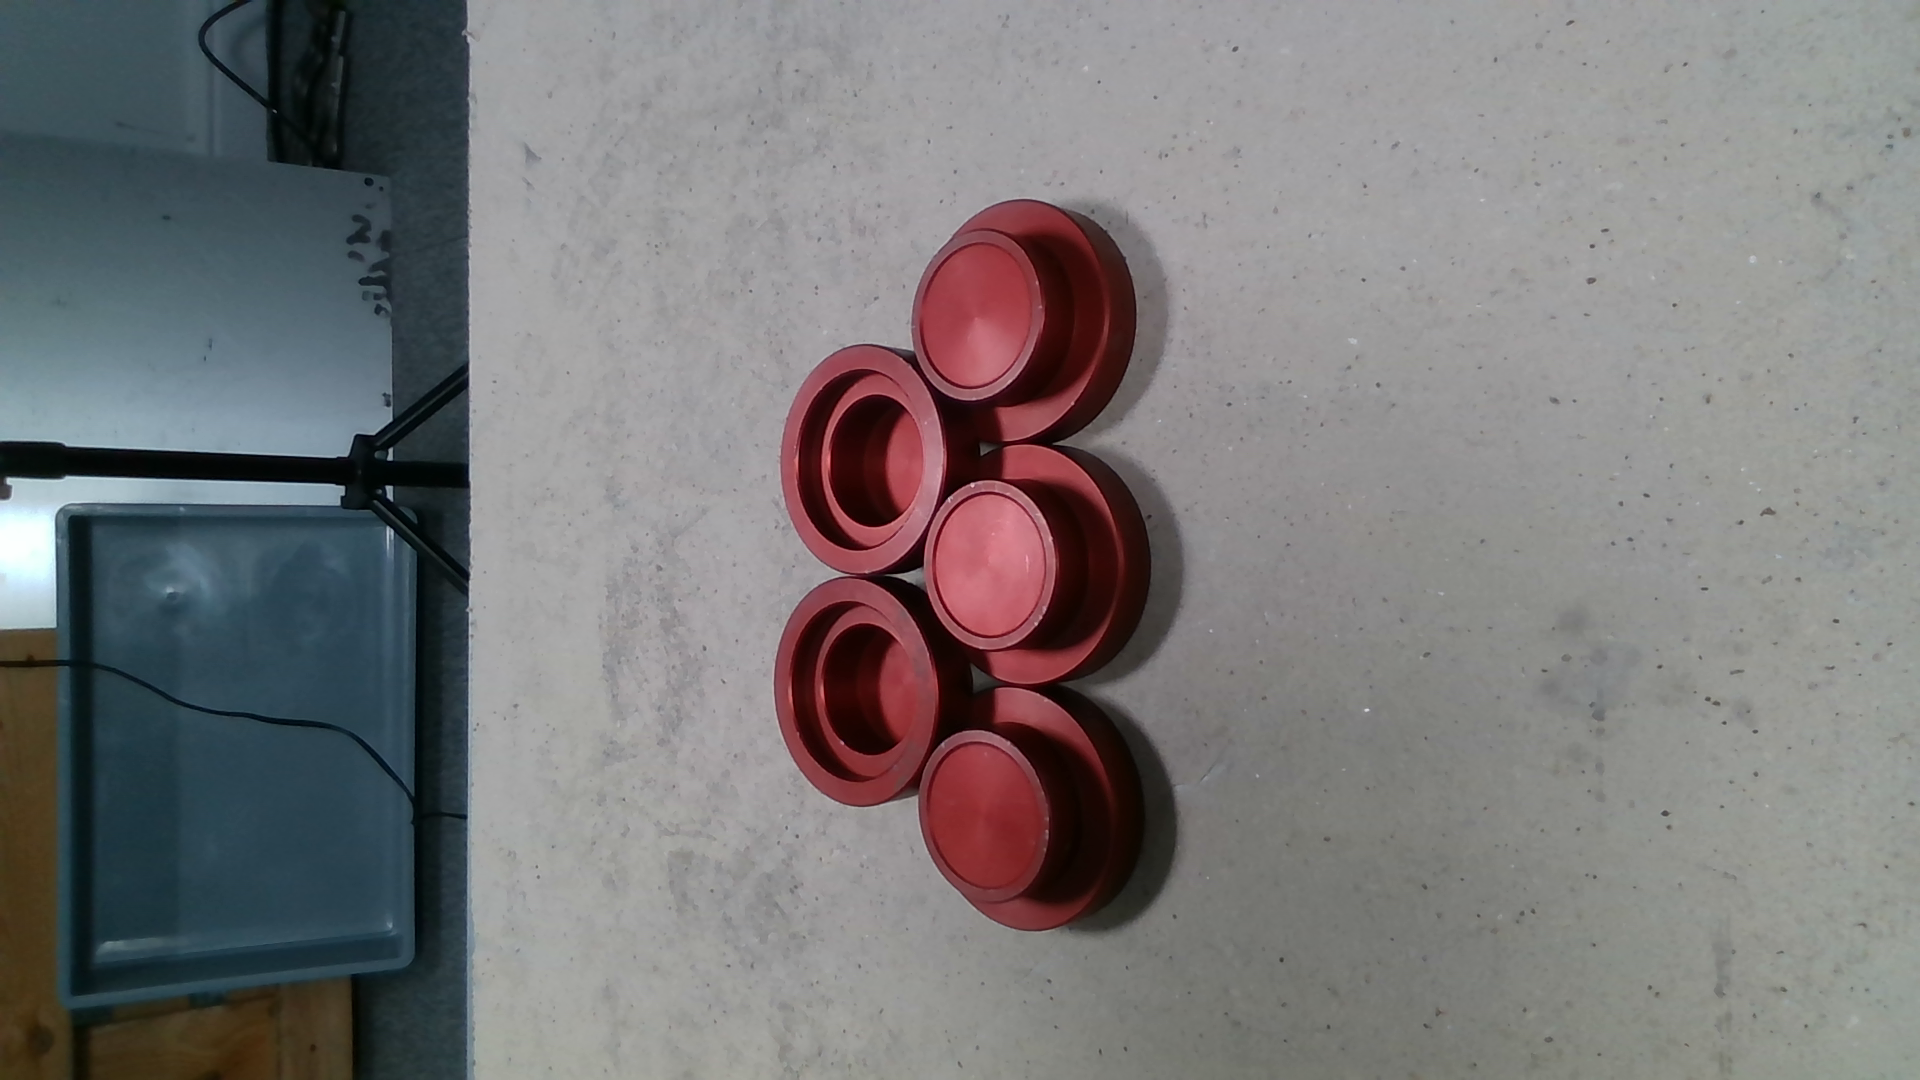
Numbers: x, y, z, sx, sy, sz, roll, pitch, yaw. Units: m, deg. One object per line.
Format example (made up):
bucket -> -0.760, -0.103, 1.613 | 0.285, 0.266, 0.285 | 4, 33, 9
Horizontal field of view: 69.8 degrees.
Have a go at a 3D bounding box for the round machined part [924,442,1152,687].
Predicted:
round machined part -> 0.024, 0.010, 0.551 | 0.098, 0.042, 0.098 | 0, 91, 40

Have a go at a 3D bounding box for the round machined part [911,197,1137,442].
round machined part -> 0.019, -0.089, 0.554 | 0.098, 0.042, 0.098 | 0, 91, 40

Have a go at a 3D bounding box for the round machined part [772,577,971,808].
round machined part -> -0.034, 0.065, 0.600 | 0.098, 0.042, 0.098 | 0, 91, 40

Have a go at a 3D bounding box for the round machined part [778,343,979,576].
round machined part -> -0.030, -0.034, 0.596 | 0.098, 0.042, 0.098 | 0, 91, 40

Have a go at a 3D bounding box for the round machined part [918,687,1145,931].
round machined part -> 0.022, 0.108, 0.554 | 0.098, 0.042, 0.098 | 0, 91, 40
